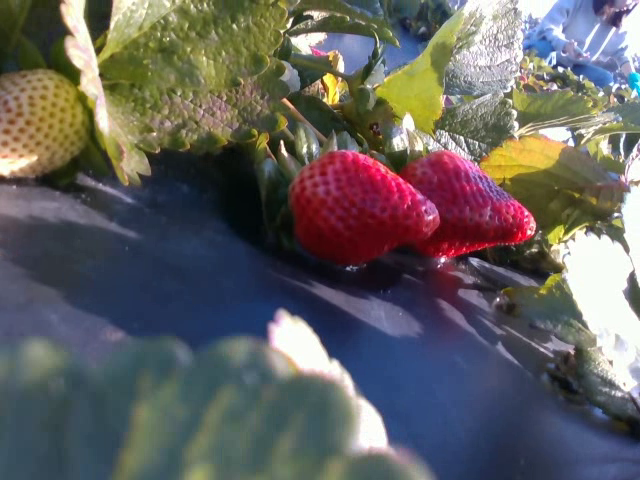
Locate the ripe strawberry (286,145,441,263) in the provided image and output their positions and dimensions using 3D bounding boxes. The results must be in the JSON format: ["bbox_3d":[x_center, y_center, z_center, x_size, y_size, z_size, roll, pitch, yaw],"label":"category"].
[{"bbox_3d":[0.014,-0.008,0.179,0.051,0.037,0.043,18,47,26],"label":"ripe strawberry"}]

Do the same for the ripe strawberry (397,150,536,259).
[{"bbox_3d":[0.053,-0.009,0.220,0.058,0.046,0.052,21,42,32],"label":"ripe strawberry"}]
